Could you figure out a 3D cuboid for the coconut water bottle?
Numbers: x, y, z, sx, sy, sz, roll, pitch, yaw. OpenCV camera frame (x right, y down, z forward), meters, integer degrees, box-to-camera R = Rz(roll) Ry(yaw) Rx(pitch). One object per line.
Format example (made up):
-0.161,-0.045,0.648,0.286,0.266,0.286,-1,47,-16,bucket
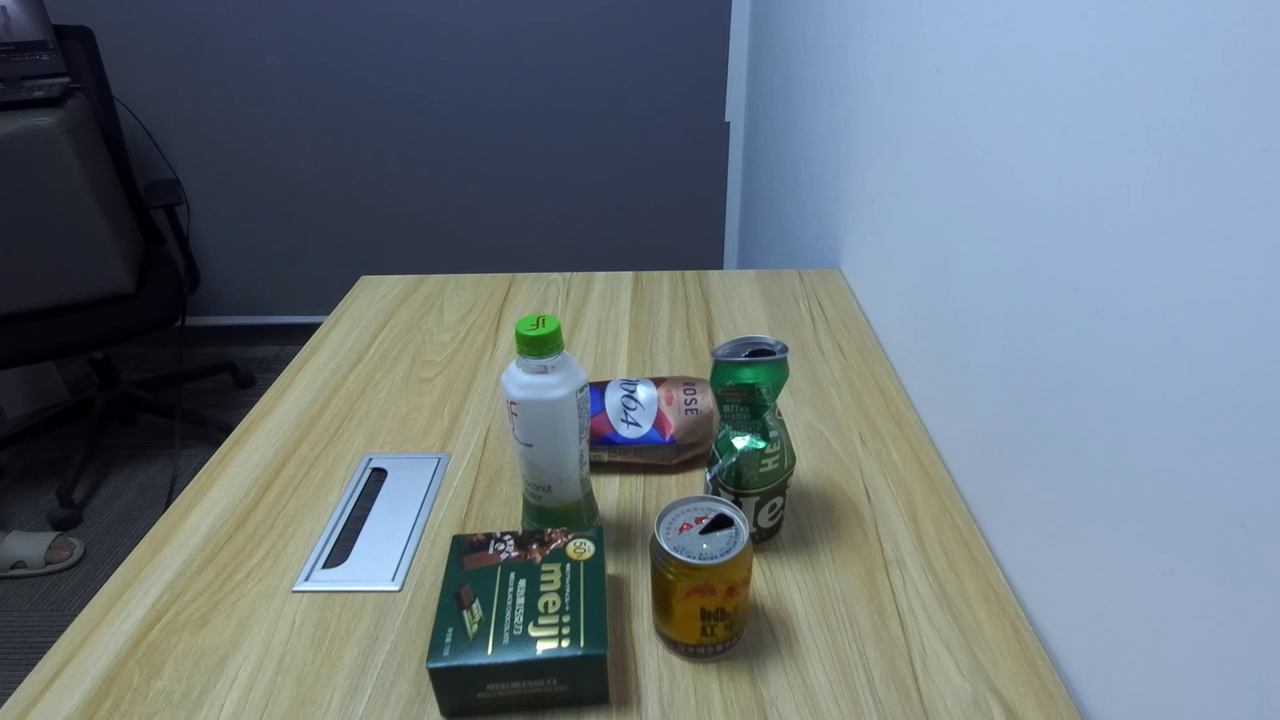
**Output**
-0.065,0.056,0.517,0.063,0.189,0.063,-1,31,1,coconut water bottle

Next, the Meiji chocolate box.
-0.075,0.170,0.469,0.109,0.056,0.109,-3,32,-3,Meiji chocolate box

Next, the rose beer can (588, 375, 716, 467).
-0.006,0.053,0.640,0.168,0.069,0.070,-2,12,-7,rose beer can

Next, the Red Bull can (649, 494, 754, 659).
0.040,0.142,0.465,0.069,0.092,0.069,-1,32,1,Red Bull can

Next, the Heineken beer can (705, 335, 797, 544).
0.083,0.064,0.531,0.067,0.159,0.078,-11,25,-23,Heineken beer can
